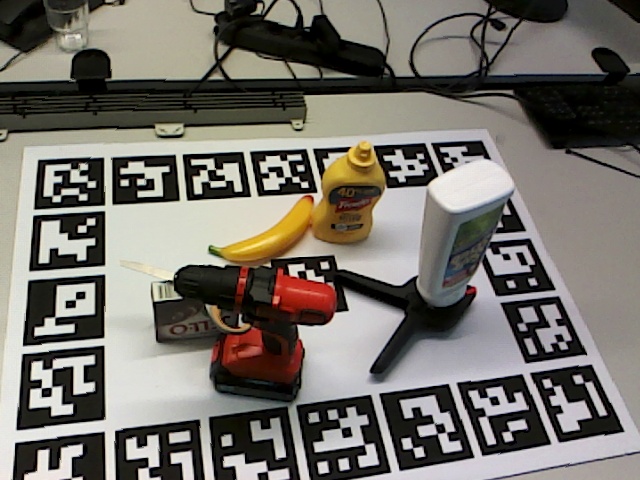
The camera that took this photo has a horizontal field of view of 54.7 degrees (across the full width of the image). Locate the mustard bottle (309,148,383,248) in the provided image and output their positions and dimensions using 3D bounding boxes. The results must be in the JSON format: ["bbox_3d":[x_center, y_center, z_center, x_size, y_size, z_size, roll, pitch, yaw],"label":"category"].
[{"bbox_3d":[0.043,-0.065,0.928,0.096,0.191,0.058,8,52,-6],"label":"mustard bottle"}]

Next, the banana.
[{"bbox_3d":[-0.074,-0.029,0.963,0.075,0.039,0.197,25,51,31],"label":"banana"}]

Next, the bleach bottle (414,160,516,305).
[{"bbox_3d":[0.182,0.011,0.834,0.102,0.250,0.068,-24,56,-17],"label":"bleach bottle"}]

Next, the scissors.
[{"bbox_3d":[-0.172,0.046,0.782,0.203,0.016,0.088,18,56,-1],"label":"scissors"}]

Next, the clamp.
[{"bbox_3d":[0.136,0.089,0.899,0.202,0.036,0.166,-9,57,-18],"label":"clamp"}]

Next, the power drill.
[{"bbox_3d":[-0.087,0.107,0.734,0.184,0.186,0.057,5,45,-3],"label":"power drill"}]

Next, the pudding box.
[{"bbox_3d":[-0.171,0.090,0.830,0.113,0.090,0.039,-1,46,-11],"label":"pudding box"}]
